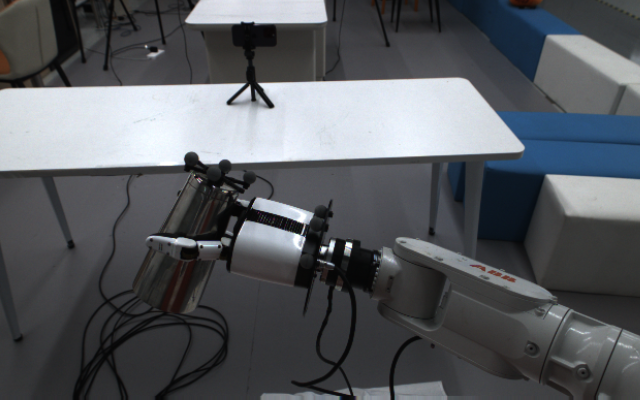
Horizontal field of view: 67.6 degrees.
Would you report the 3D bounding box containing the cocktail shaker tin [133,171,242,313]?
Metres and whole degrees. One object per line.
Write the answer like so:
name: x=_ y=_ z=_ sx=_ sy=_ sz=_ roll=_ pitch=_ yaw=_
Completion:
cocktail shaker tin: x=-0.167 y=0.050 z=0.631 sx=0.093 sy=0.170 sz=0.093 roll=24 pitch=12 yaw=-6
